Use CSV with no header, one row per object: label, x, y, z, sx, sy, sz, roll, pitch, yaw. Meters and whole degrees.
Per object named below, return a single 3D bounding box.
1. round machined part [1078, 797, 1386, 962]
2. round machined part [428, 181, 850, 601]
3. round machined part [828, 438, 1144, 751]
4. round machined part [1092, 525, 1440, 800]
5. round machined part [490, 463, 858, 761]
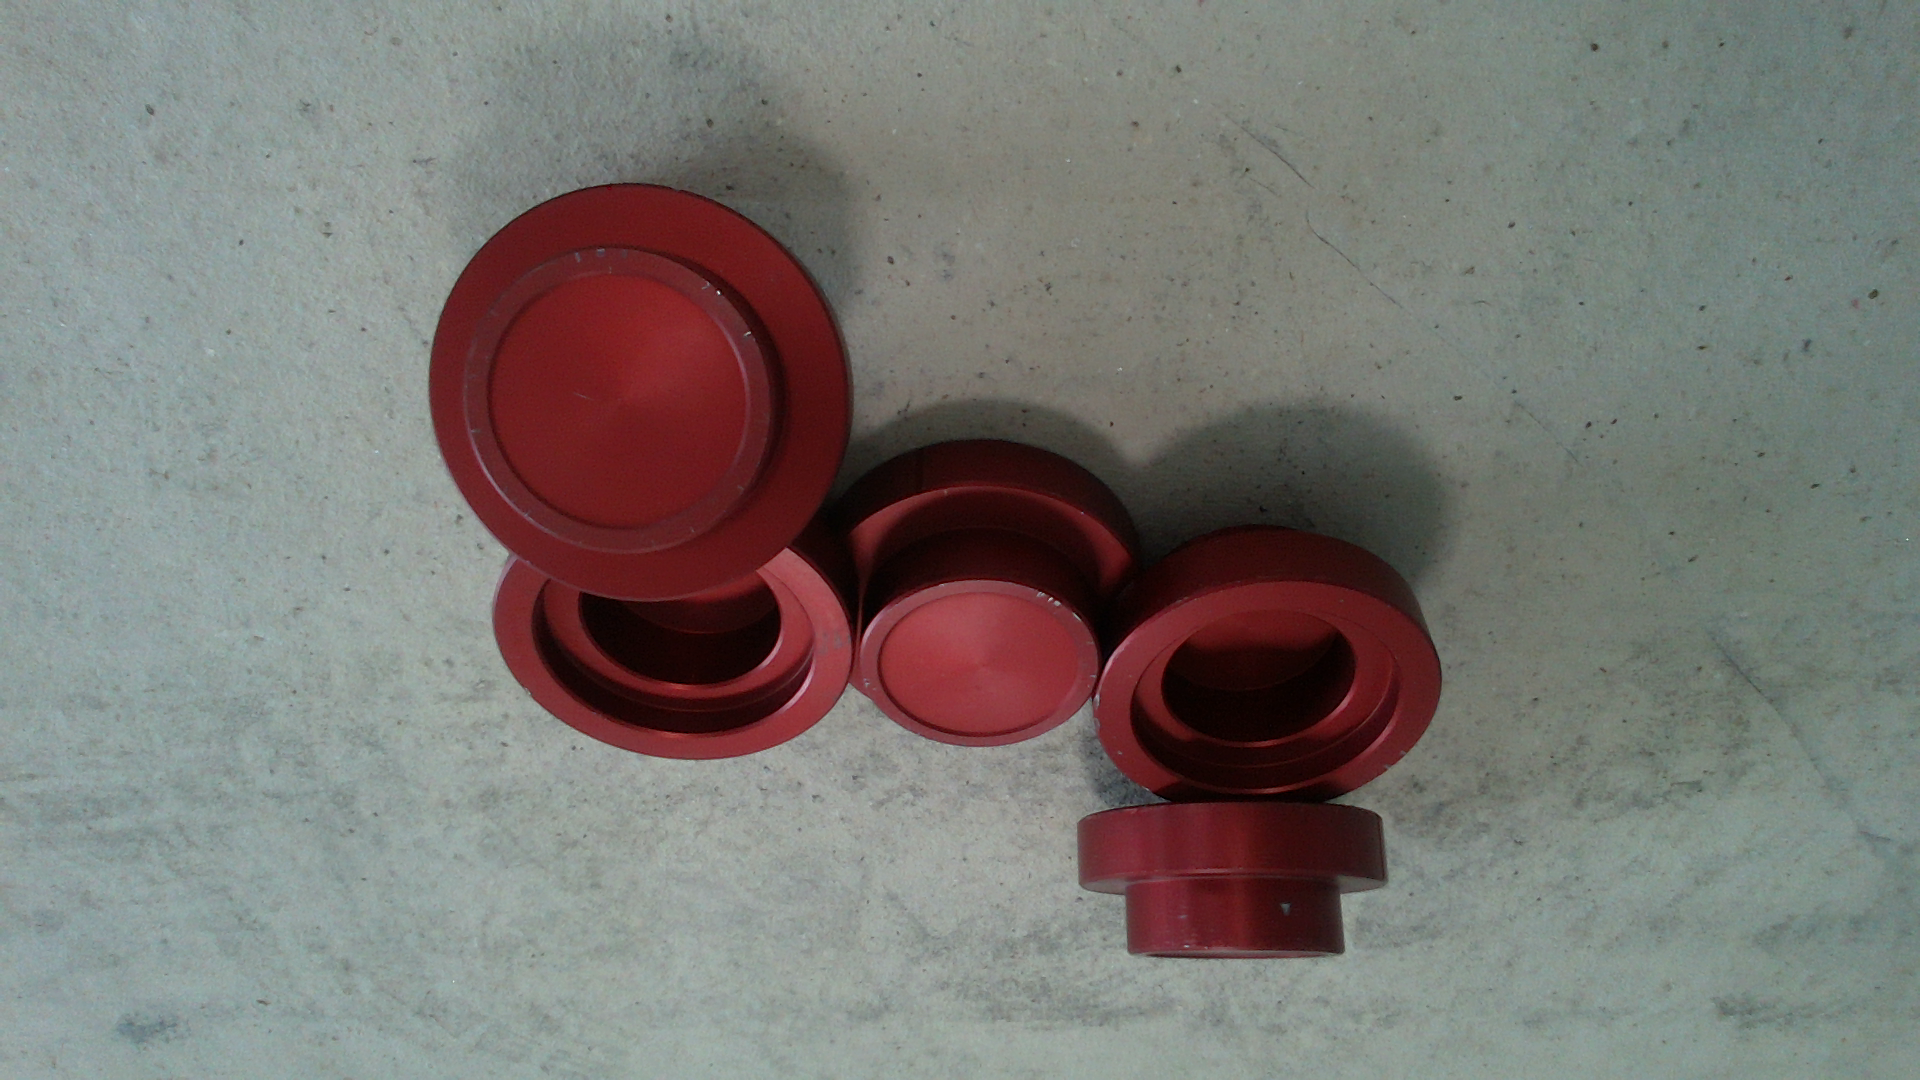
round machined part,0.087,0.113,0.446,0.098,0.042,0.098,0,159,0
round machined part,-0.075,-0.034,0.321,0.098,0.042,0.098,0,99,-1
round machined part,0.005,0.023,0.397,0.098,0.042,0.098,1,128,1
round machined part,0.087,0.034,0.408,0.098,0.042,0.098,0,131,1
round machined part,-0.078,0.015,0.391,0.098,0.042,0.098,0,131,1
